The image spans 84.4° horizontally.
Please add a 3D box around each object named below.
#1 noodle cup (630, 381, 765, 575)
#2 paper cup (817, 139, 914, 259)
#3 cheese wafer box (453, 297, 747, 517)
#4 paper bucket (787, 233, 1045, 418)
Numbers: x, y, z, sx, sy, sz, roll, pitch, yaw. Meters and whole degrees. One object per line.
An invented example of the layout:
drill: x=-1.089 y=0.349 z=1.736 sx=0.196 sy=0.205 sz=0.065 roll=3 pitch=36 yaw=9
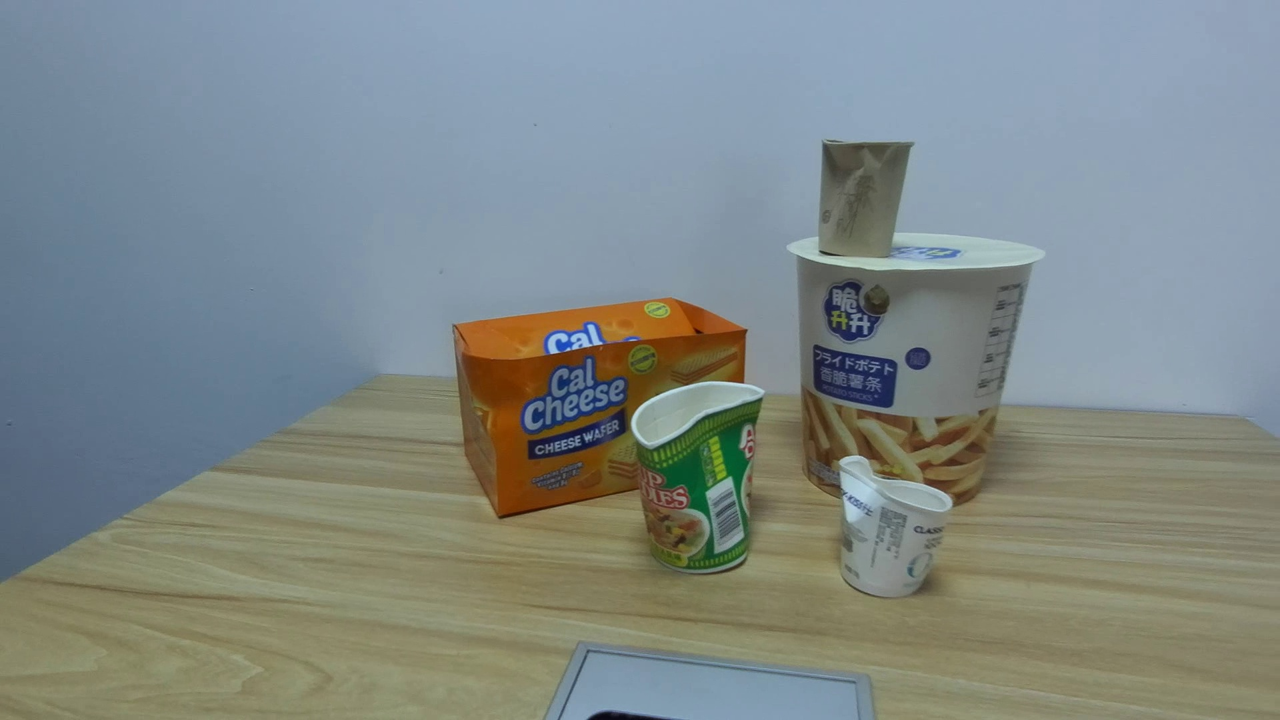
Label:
noodle cup: x=0.042 y=0.079 z=0.480 sx=0.115 sy=0.111 sz=0.070 roll=-9 pitch=21 yaw=-24
paper cup: x=0.170 y=-0.121 z=0.531 sx=0.072 sy=0.084 sz=0.066 roll=-2 pitch=16 yaw=-18
cheese wafer box: x=-0.039 y=0.033 z=0.624 sx=0.231 sy=0.132 sz=0.151 roll=-7 pitch=19 yaw=-23
paper bucket: x=0.212 y=0.003 z=0.584 sx=0.198 sy=0.194 sz=0.198 roll=-1 pitch=18 yaw=1
